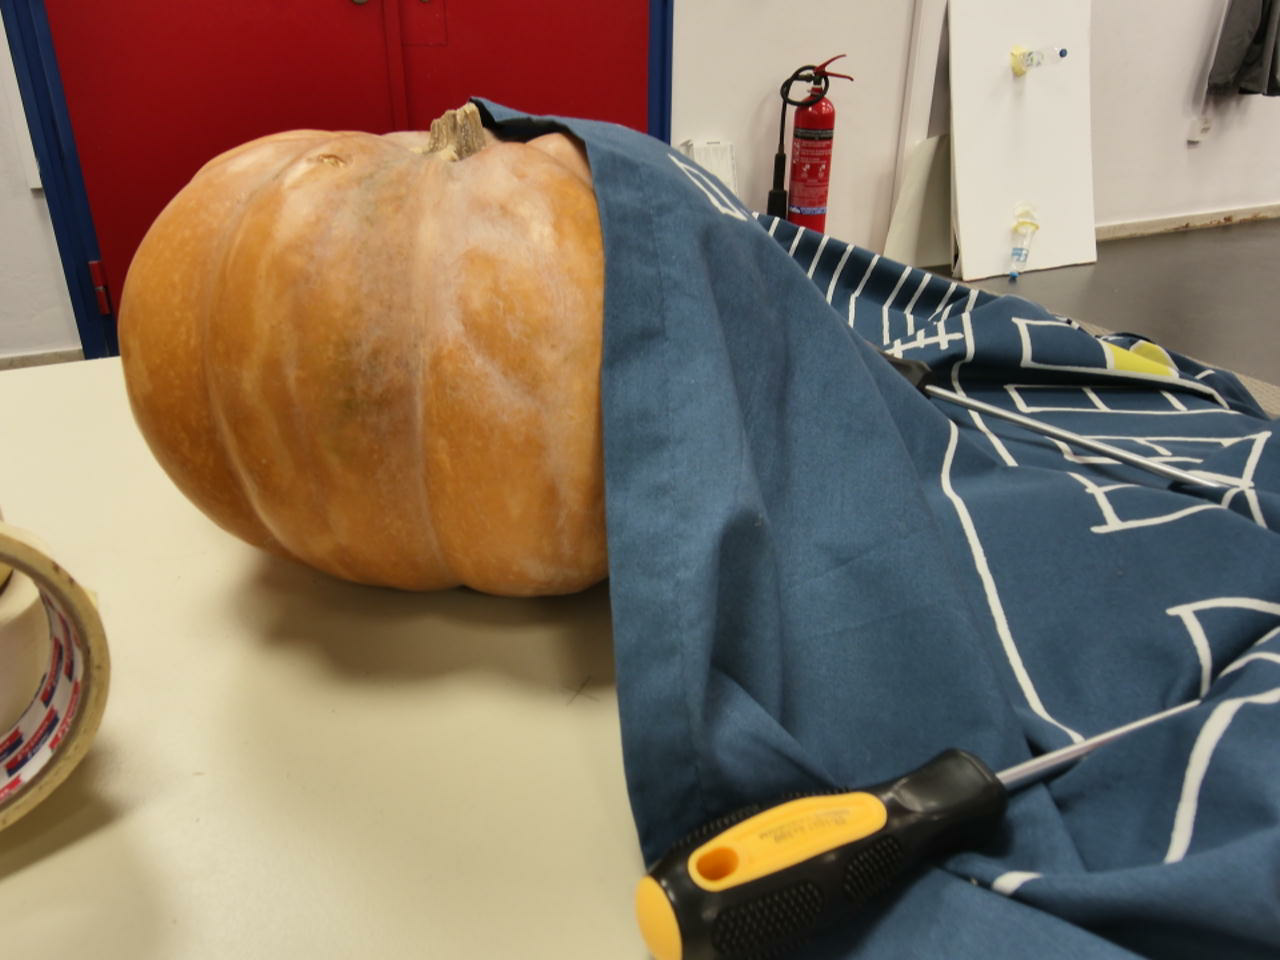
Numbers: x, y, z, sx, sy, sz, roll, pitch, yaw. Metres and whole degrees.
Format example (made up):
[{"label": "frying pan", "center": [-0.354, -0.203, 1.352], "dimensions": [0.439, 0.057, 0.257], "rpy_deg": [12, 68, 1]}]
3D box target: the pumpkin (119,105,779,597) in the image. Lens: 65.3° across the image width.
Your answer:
[{"label": "pumpkin", "center": [-0.070, -0.060, 0.419], "dimensions": [0.277, 0.181, 0.277], "rpy_deg": [0, 25, 0]}]
